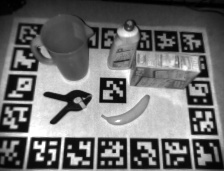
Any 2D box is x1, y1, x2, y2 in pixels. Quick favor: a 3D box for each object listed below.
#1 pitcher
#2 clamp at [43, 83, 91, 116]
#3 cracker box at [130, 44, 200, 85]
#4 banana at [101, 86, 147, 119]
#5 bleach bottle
[{"bbox_3d":[-0.161,-0.134,0.722,0.190,0.243,0.132,-15,69,-12],"label":"pitcher"},{"bbox_3d":[-0.158,0.035,0.791,0.166,0.036,0.121,-13,69,-11],"label":"clamp"},{"bbox_3d":[0.178,-0.071,0.773,0.214,0.165,0.072,3,66,-1],"label":"cracker box"},{"bbox_3d":[0.061,0.069,0.802,0.198,0.039,0.074,-30,73,-14],"label":"banana"},{"bbox_3d":[0.027,-0.157,0.765,0.103,0.251,0.067,2,68,-2],"label":"bleach bottle"}]
